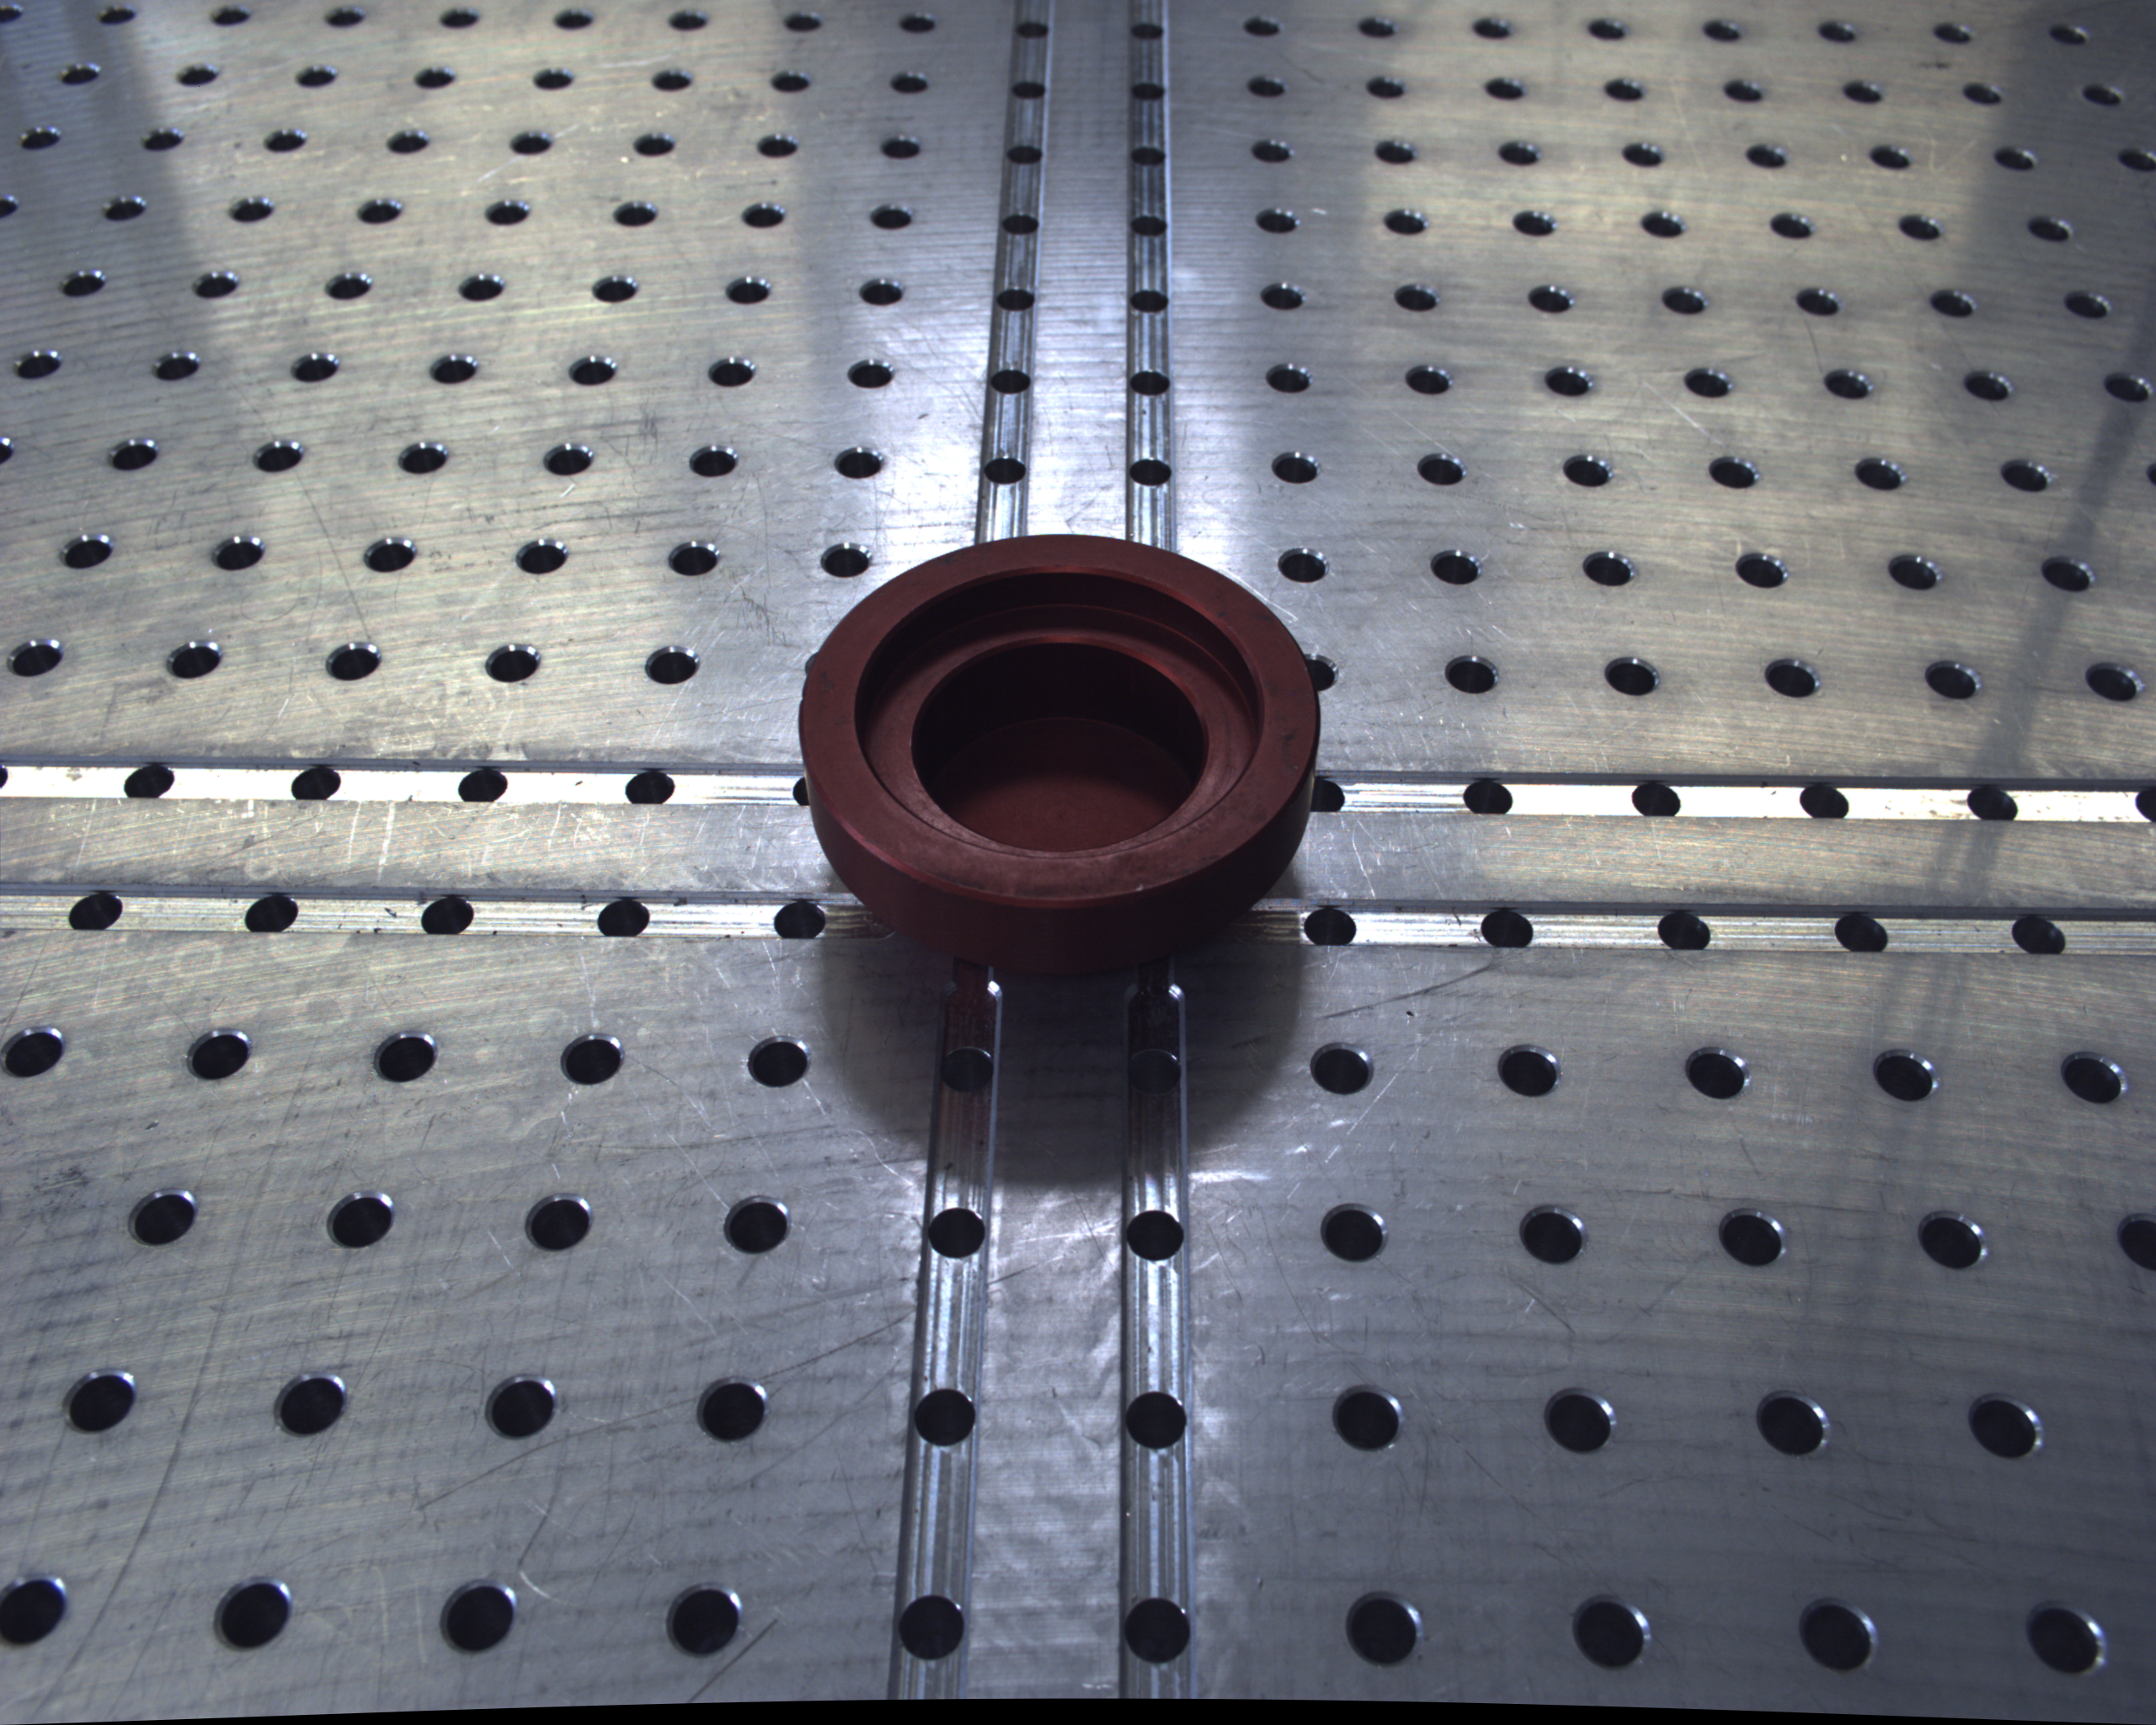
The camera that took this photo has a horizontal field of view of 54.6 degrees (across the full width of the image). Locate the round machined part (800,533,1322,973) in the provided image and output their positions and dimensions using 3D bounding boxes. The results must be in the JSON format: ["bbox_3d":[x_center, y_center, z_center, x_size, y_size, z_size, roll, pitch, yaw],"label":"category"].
[{"bbox_3d":[-0.003,-0.017,0.410,0.099,0.042,0.098,0,50,0],"label":"round machined part"}]
